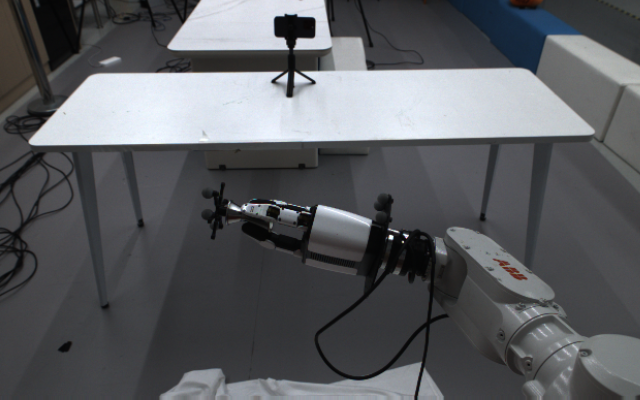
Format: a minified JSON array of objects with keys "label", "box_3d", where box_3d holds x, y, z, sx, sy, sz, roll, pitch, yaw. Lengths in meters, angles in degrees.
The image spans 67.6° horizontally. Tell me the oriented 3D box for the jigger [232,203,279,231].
[{"label":"jigger","box_3d":[-0.099,0.020,0.742,0.071,0.043,0.043,7,35,2]}]
